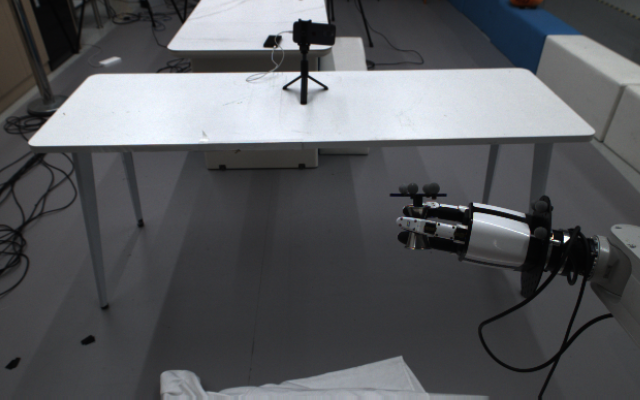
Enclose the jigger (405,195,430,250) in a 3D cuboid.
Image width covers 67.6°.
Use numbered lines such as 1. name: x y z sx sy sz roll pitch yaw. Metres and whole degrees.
1. jigger: 0.156 0.041 0.777 0.043 0.071 0.043 -1 2 0
